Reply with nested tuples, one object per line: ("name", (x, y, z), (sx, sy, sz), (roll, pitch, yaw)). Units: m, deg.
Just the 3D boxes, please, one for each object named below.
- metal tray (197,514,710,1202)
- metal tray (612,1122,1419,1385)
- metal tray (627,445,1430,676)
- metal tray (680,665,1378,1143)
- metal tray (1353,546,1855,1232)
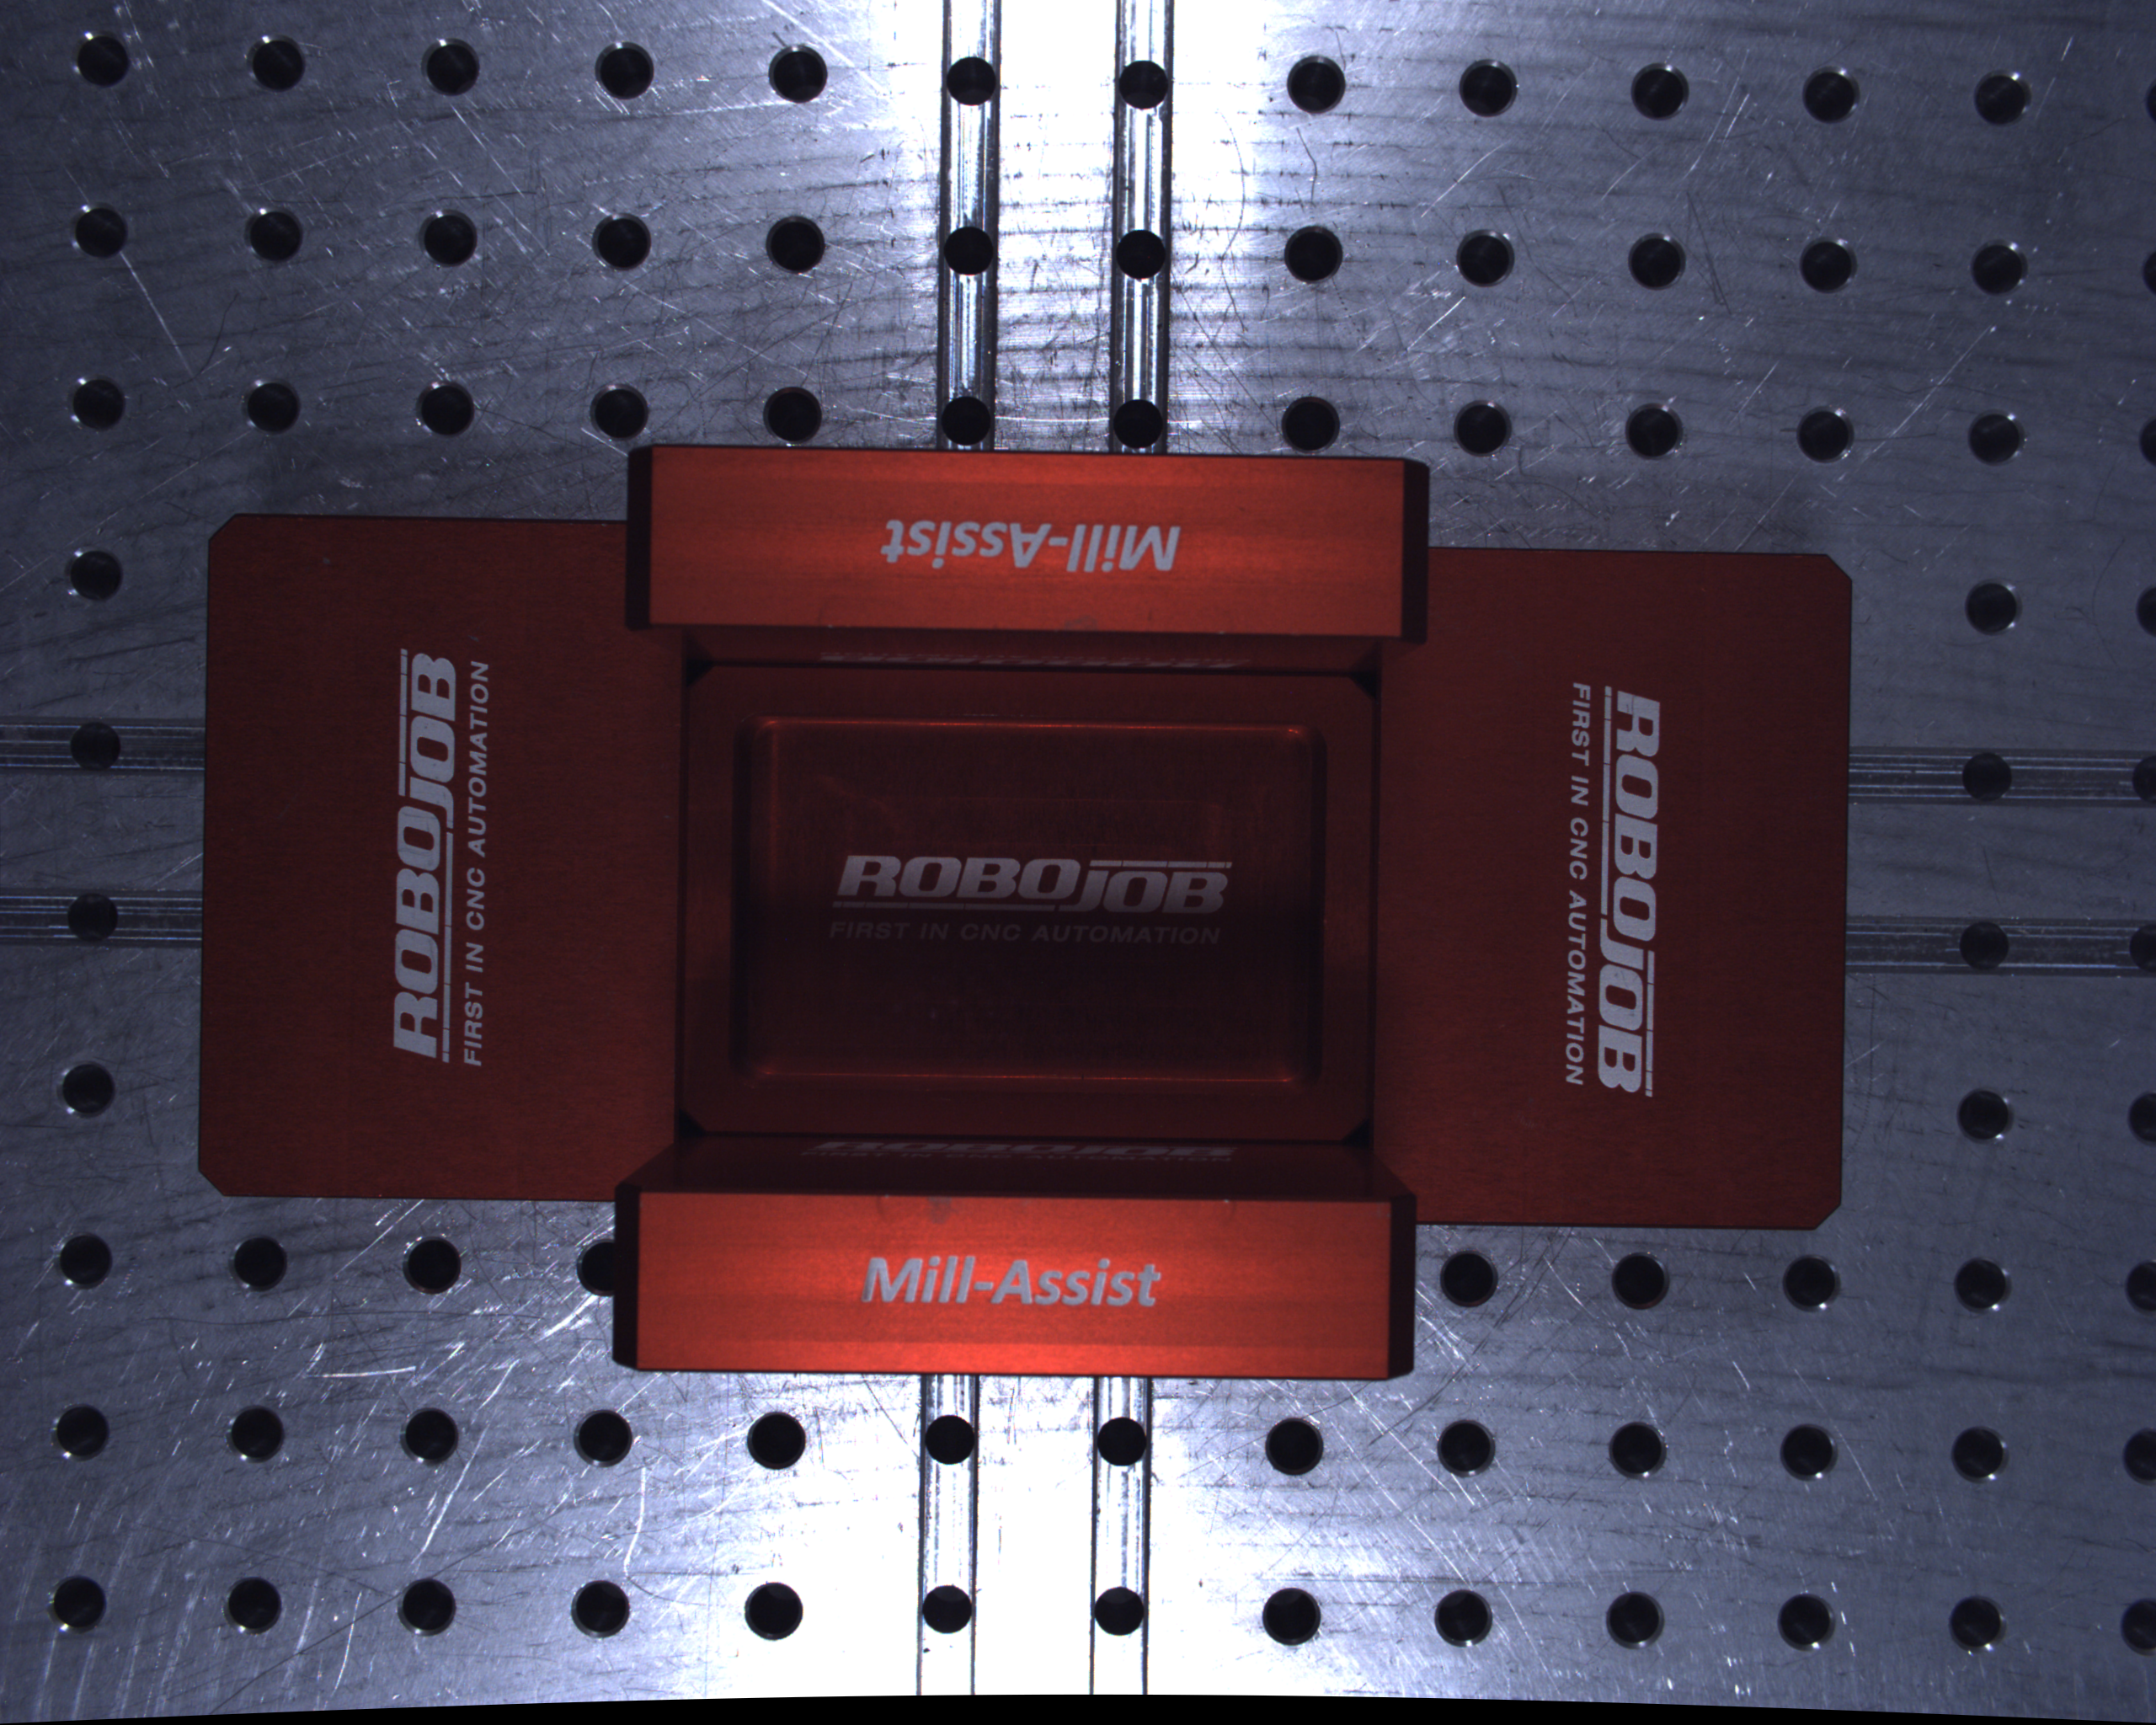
("metal tray", (-0.120, -0.001, 0.409), (0.091, 0.030, 0.129), (1, 90, -1))
("metal tray", (-0.010, 0.068, 0.379), (0.131, 0.090, 0.030), (1, 90, -1))
("metal tray", (-0.008, -0.052, 0.381), (0.131, 0.090, 0.030), (1, 90, -1))
("metal tray", (-0.009, 0.008, 0.408), (0.131, 0.030, 0.089), (1, 90, -1))
("metal tray", (0.102, 0.005, 0.410), (0.091, 0.030, 0.129), (1, 90, -2))
